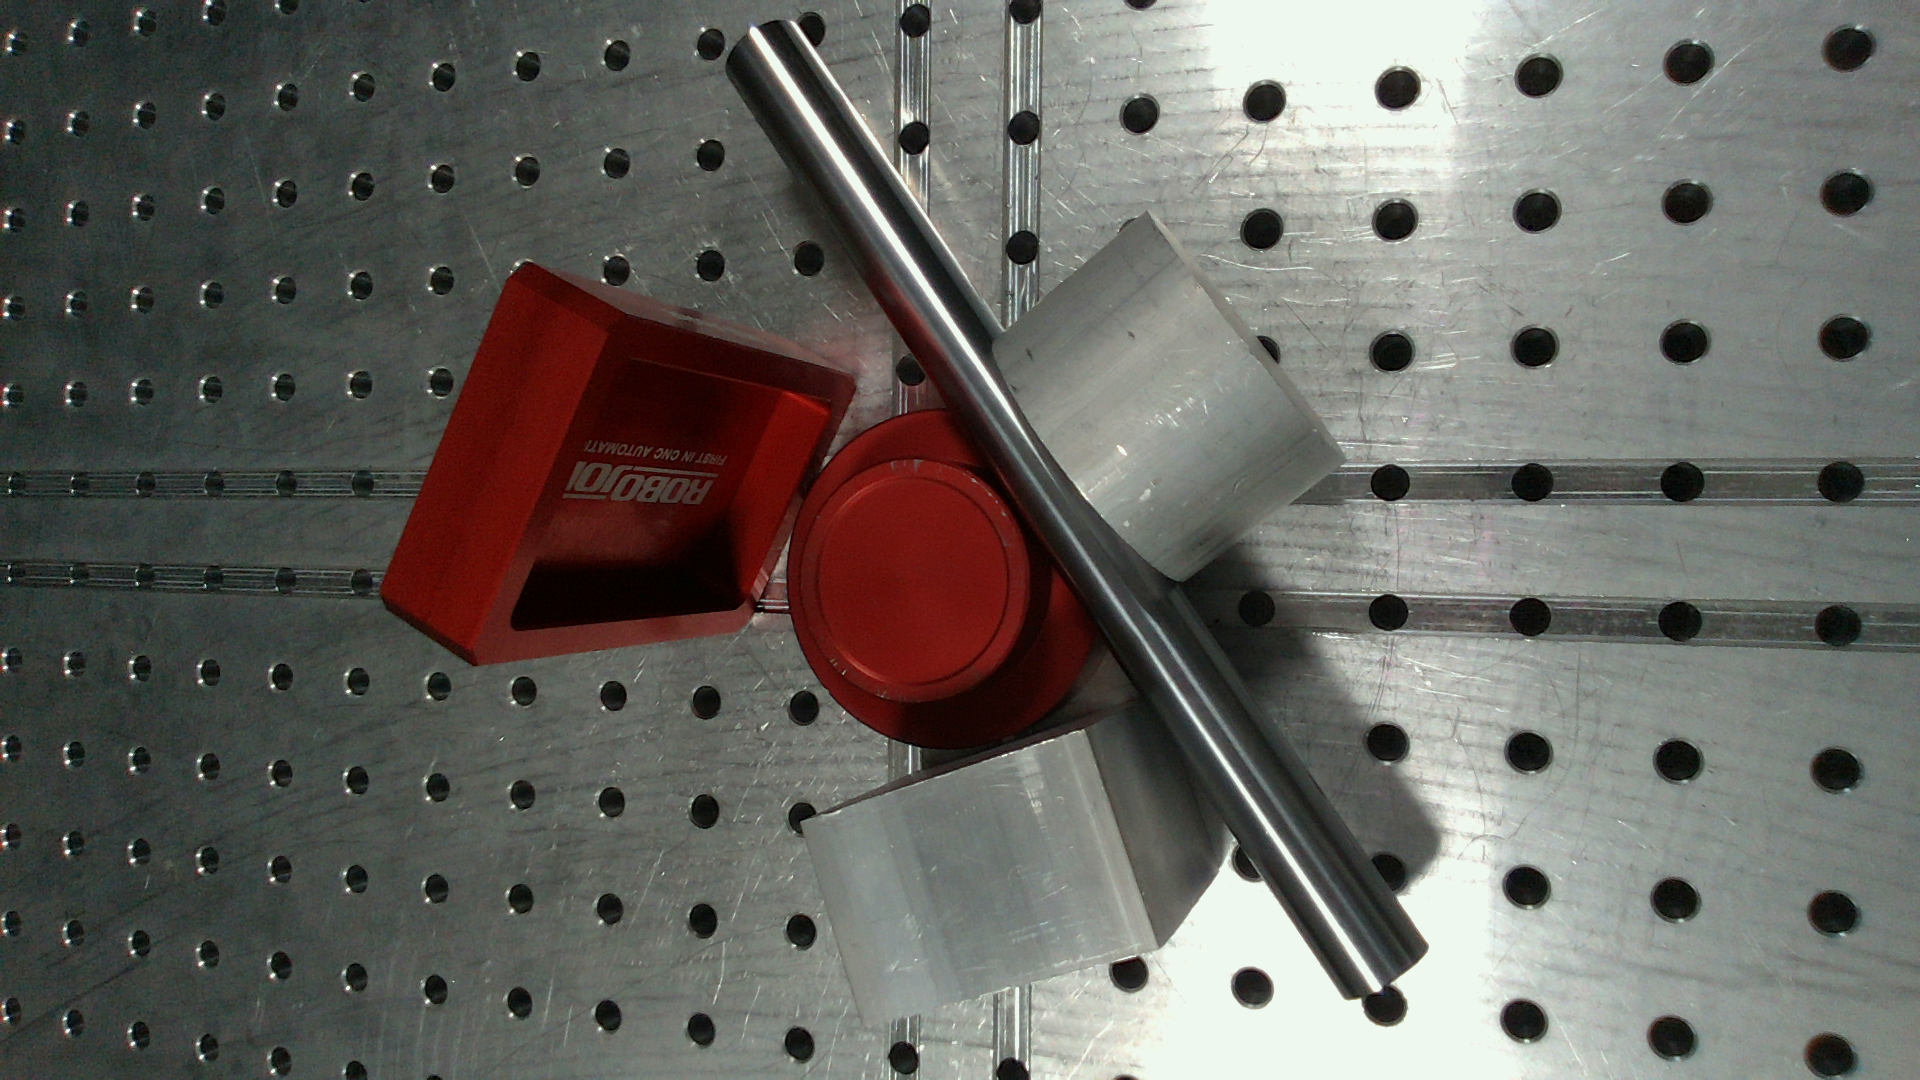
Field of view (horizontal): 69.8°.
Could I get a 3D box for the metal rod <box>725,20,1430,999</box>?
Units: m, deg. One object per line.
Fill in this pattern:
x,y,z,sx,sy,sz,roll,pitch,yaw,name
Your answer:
0.024,-0.017,0.367,0.025,0.025,0.300,-37,78,16,metal rod

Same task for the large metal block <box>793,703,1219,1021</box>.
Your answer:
0.016,0.080,0.364,0.080,0.080,0.050,-21,83,19,large metal block

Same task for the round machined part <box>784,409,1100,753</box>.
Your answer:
-0.007,0.012,0.392,0.098,0.042,0.098,0,90,20,round machined part

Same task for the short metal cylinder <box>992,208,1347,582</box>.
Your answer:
0.053,-0.036,0.349,0.050,0.080,0.080,-39,78,16,short metal cylinder

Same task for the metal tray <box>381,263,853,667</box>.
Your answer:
-0.084,-0.017,0.373,0.030,0.130,0.090,29,99,18,metal tray
